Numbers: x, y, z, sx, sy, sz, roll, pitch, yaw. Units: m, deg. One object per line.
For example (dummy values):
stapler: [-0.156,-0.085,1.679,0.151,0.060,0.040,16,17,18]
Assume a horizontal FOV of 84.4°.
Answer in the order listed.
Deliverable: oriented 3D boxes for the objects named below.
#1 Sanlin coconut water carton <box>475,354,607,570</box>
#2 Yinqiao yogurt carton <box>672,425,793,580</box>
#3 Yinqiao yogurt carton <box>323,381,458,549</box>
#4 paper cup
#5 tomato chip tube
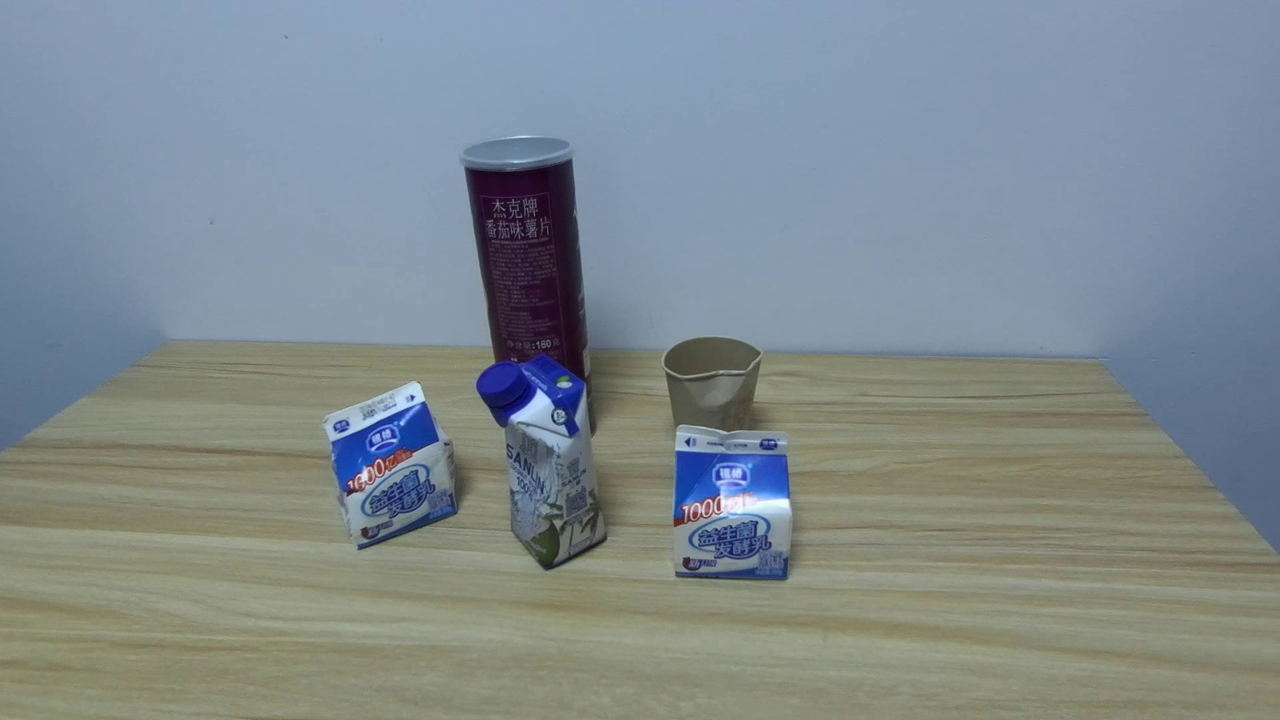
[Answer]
Sanlin coconut water carton: [-0.062,0.061,0.456,0.058,0.142,0.077,-26,36,-26]
Yinqiao yogurt carton: [0.059,0.081,0.454,0.075,0.092,0.073,1,29,4]
Yinqiao yogurt carton: [-0.180,0.065,0.505,0.083,0.093,0.077,-18,33,-25]
paper cup: [0.054,0.033,0.545,0.068,0.081,0.073,11,31,26]
tomato chip tube: [-0.080,-0.043,0.542,0.078,0.234,0.078,-2,28,1]
